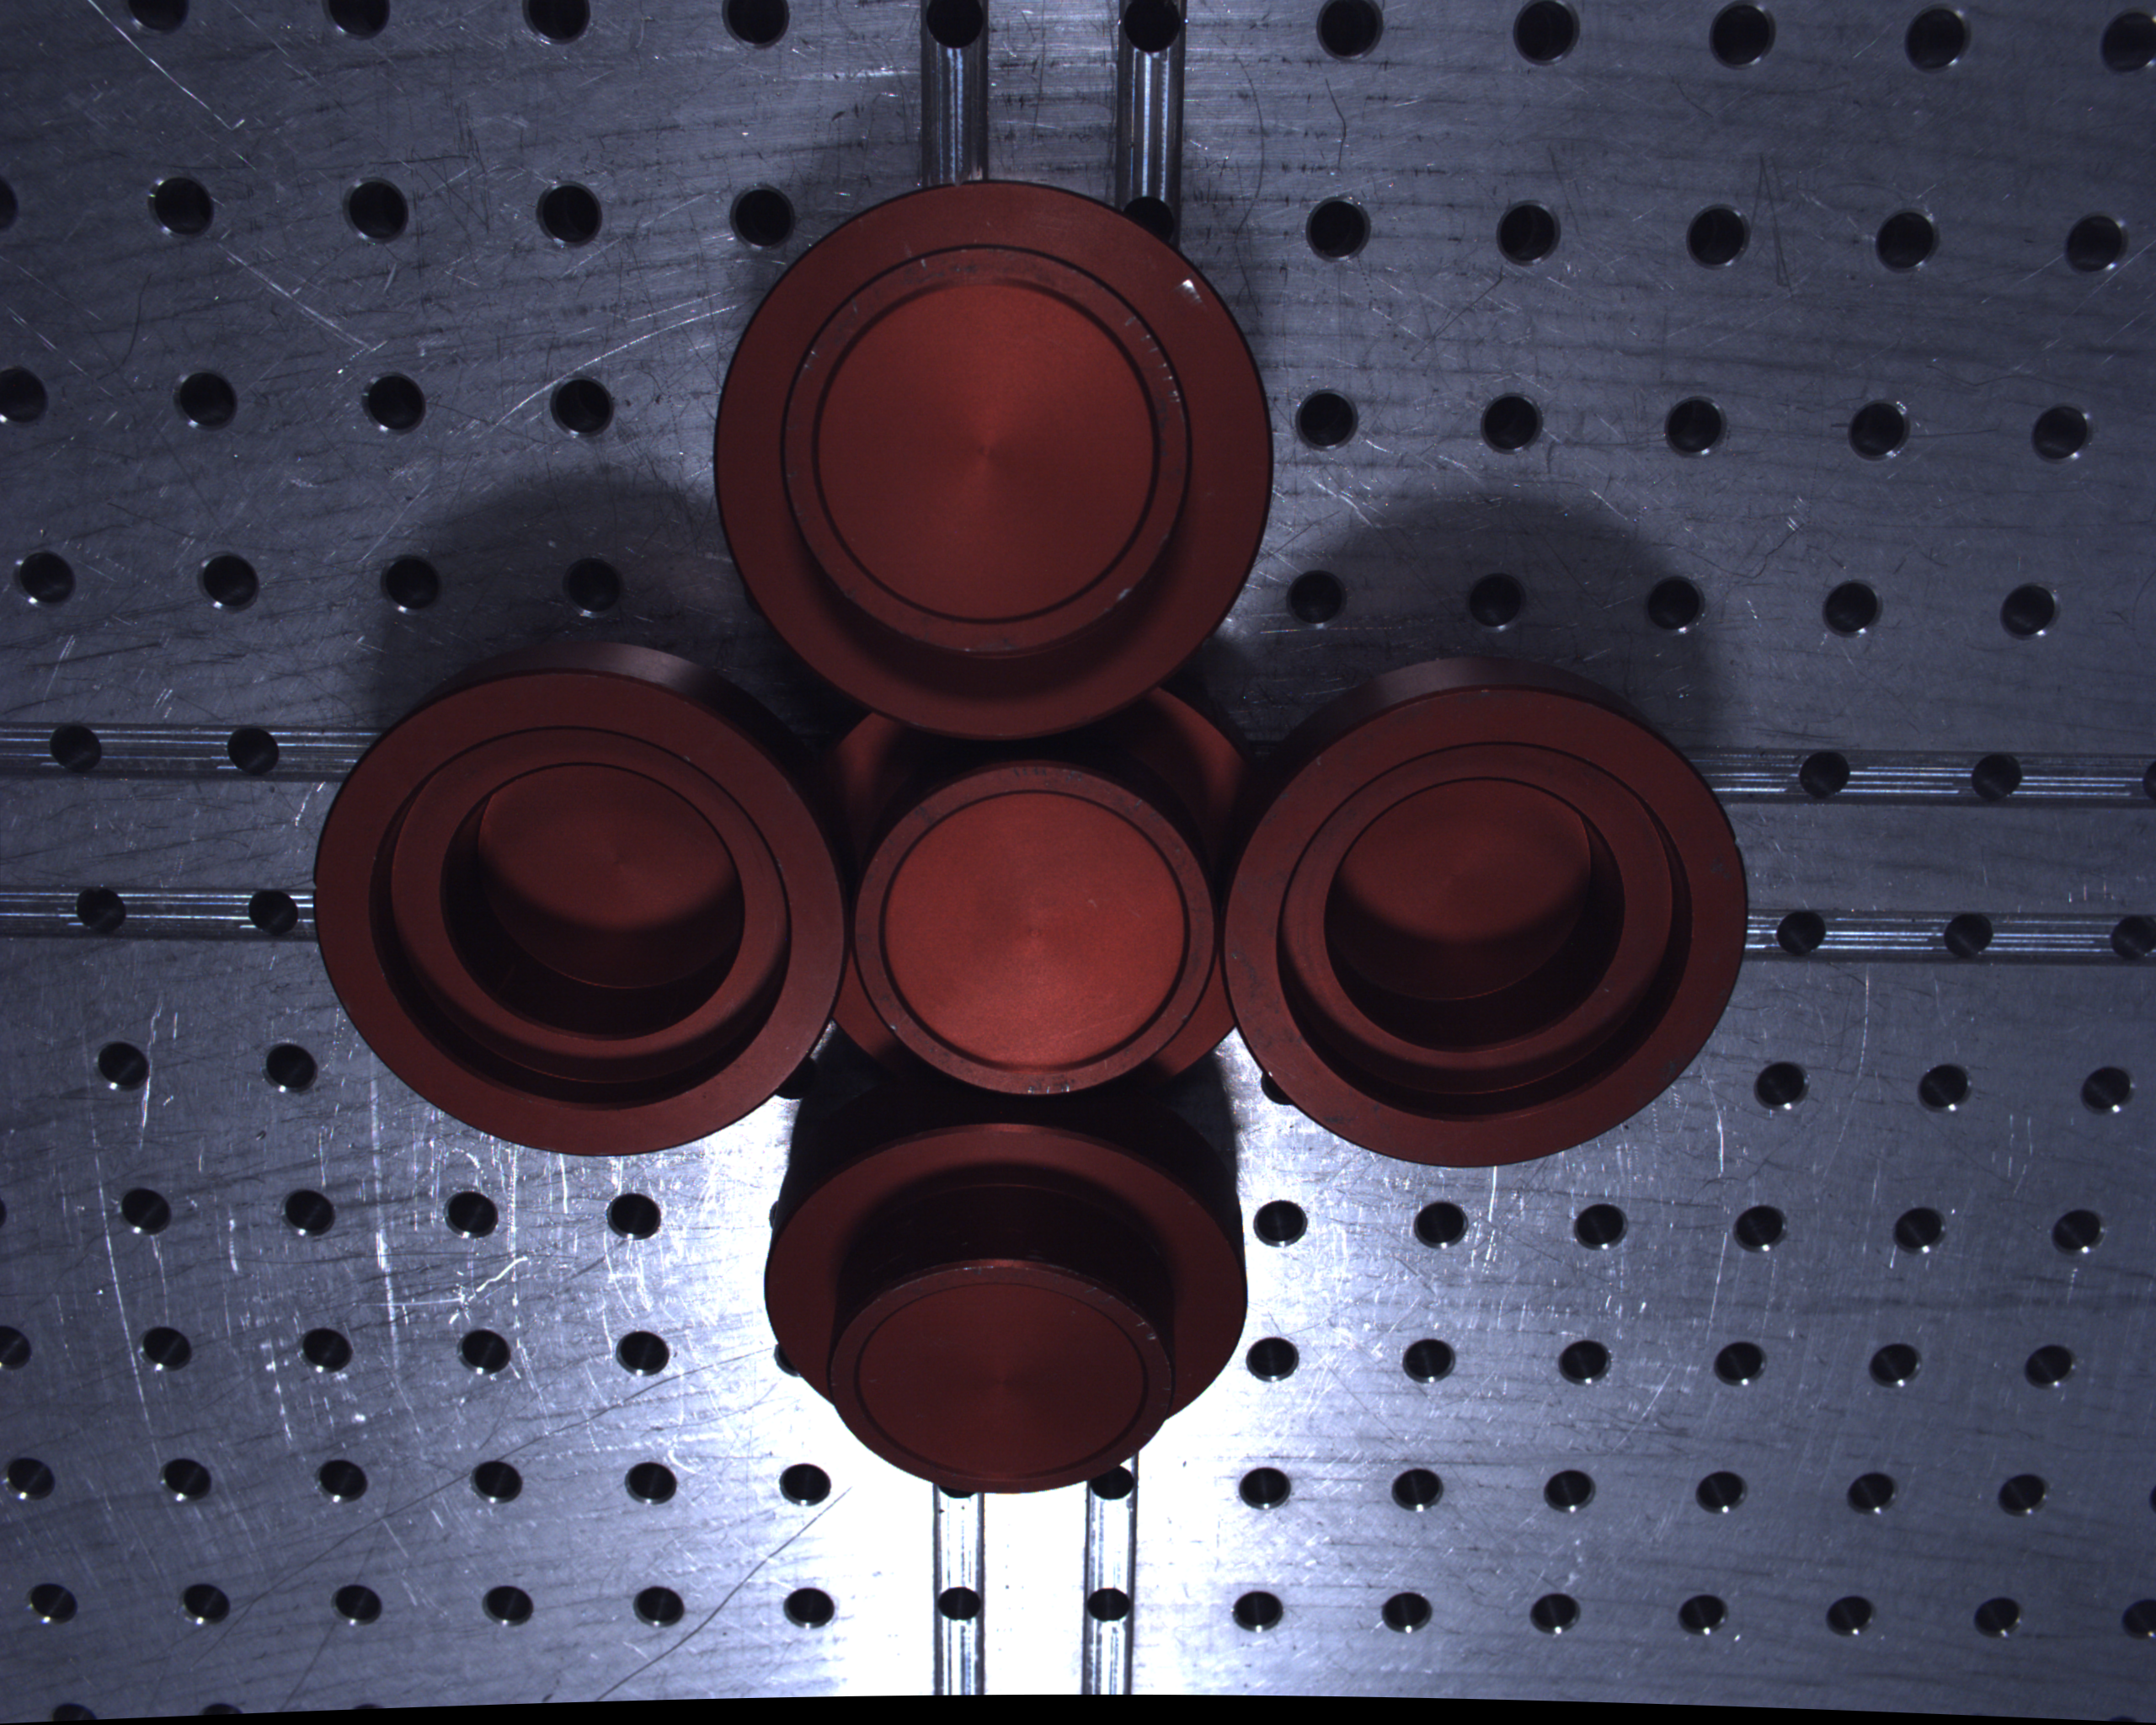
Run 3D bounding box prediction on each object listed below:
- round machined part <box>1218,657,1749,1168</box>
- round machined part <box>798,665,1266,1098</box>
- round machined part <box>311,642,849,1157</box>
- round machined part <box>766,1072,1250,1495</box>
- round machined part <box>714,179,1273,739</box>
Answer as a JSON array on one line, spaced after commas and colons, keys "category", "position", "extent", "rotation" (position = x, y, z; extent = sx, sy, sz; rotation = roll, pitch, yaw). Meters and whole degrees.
[{"category": "round machined part", "position": [0.076, 0.007, 0.407], "extent": [0.099, 0.042, 0.097], "rotation": [0, 110, -1]}, {"category": "round machined part", "position": [-0.009, 0.006, 0.405], "extent": [0.099, 0.042, 0.097], "rotation": [0, 110, -1]}, {"category": "round machined part", "position": [-0.092, 0.004, 0.404], "extent": [0.099, 0.042, 0.097], "rotation": [0, 110, -1]}, {"category": "round machined part", "position": [-0.014, 0.091, 0.425], "extent": [0.099, 0.042, 0.097], "rotation": [0, 125, 0]}, {"category": "round machined part", "position": [-0.015, -0.070, 0.366], "extent": [0.099, 0.042, 0.097], "rotation": [0, 96, 1]}]
